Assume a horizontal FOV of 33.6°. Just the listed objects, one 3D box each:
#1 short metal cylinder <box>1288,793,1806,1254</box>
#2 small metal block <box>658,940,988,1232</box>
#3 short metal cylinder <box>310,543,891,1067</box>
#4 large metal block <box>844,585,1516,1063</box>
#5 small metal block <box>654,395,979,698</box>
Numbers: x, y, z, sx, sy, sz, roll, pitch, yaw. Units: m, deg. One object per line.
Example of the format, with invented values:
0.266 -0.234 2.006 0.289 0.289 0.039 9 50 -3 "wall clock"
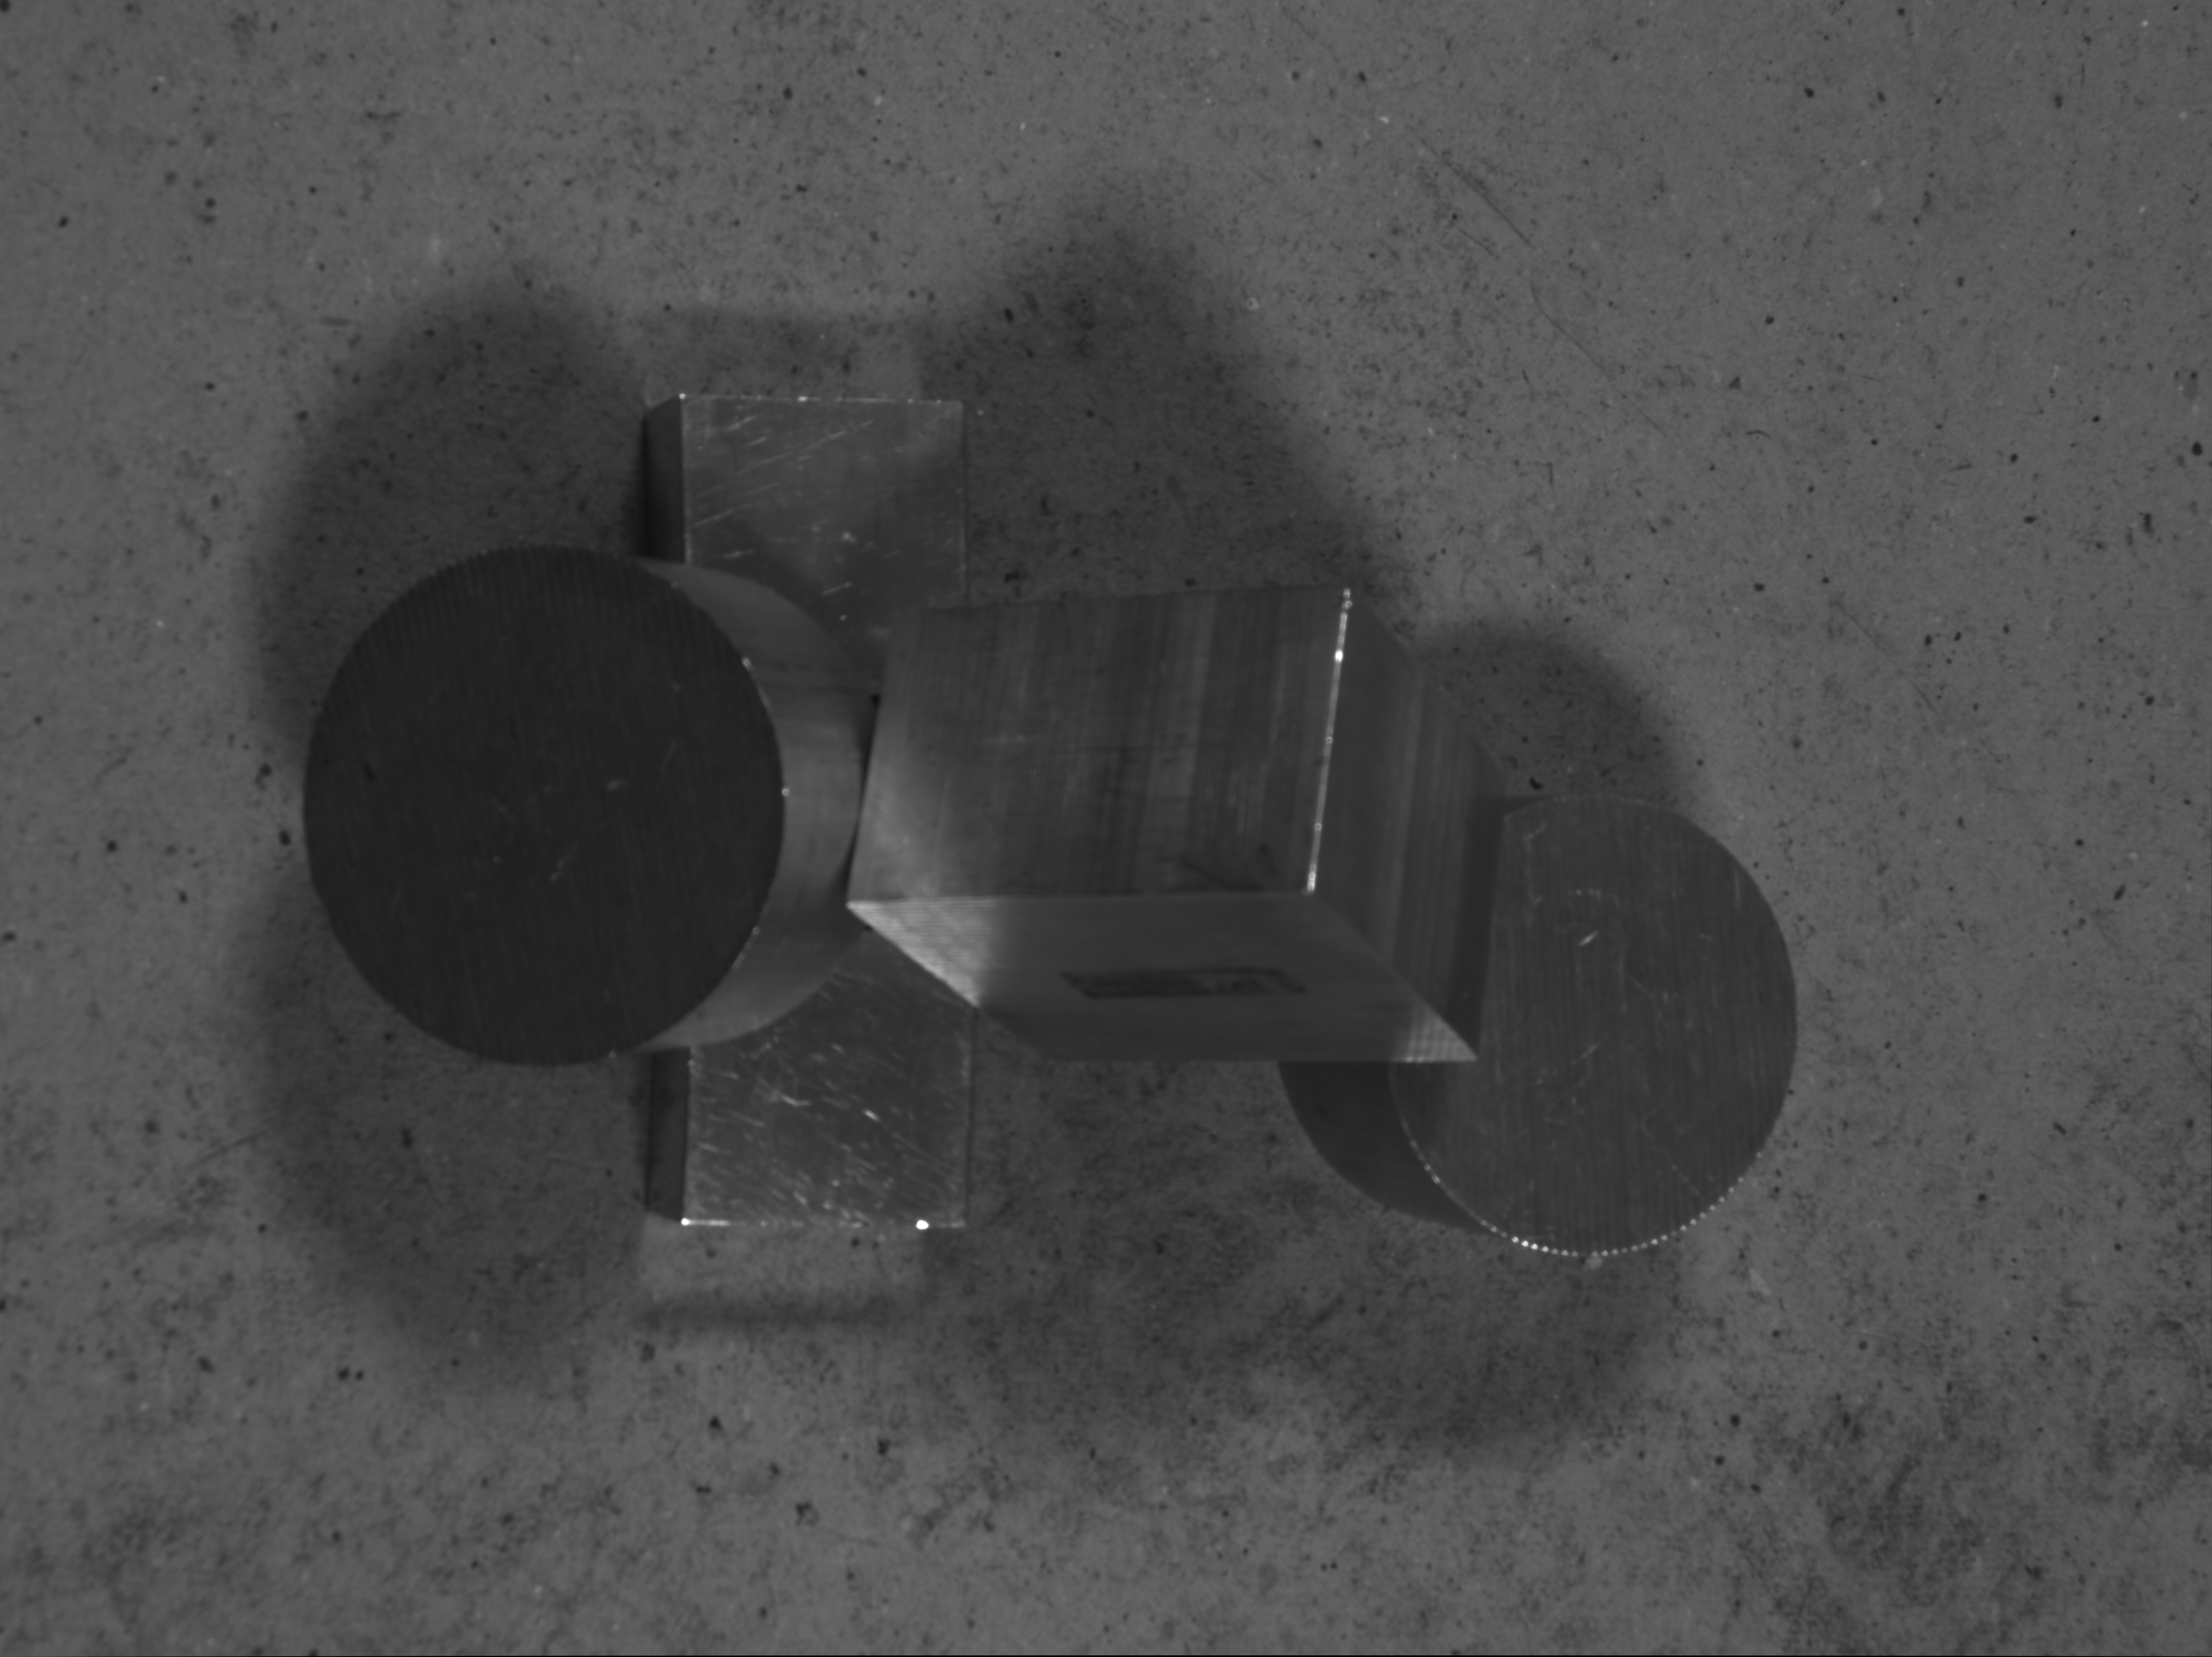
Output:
0.078 0.034 0.659 0.080 0.050 0.080 0 90 -20 "short metal cylinder"
-0.048 0.042 0.626 0.050 0.025 0.050 3 89 -20 "small metal block"
-0.079 -0.004 0.583 0.080 0.050 0.080 0 91 16 "short metal cylinder"
0.014 0.002 0.600 0.080 0.080 0.050 43 50 -57 "large metal block"
-0.049 -0.047 0.625 0.050 0.025 0.050 -1 90 -20 "small metal block"
